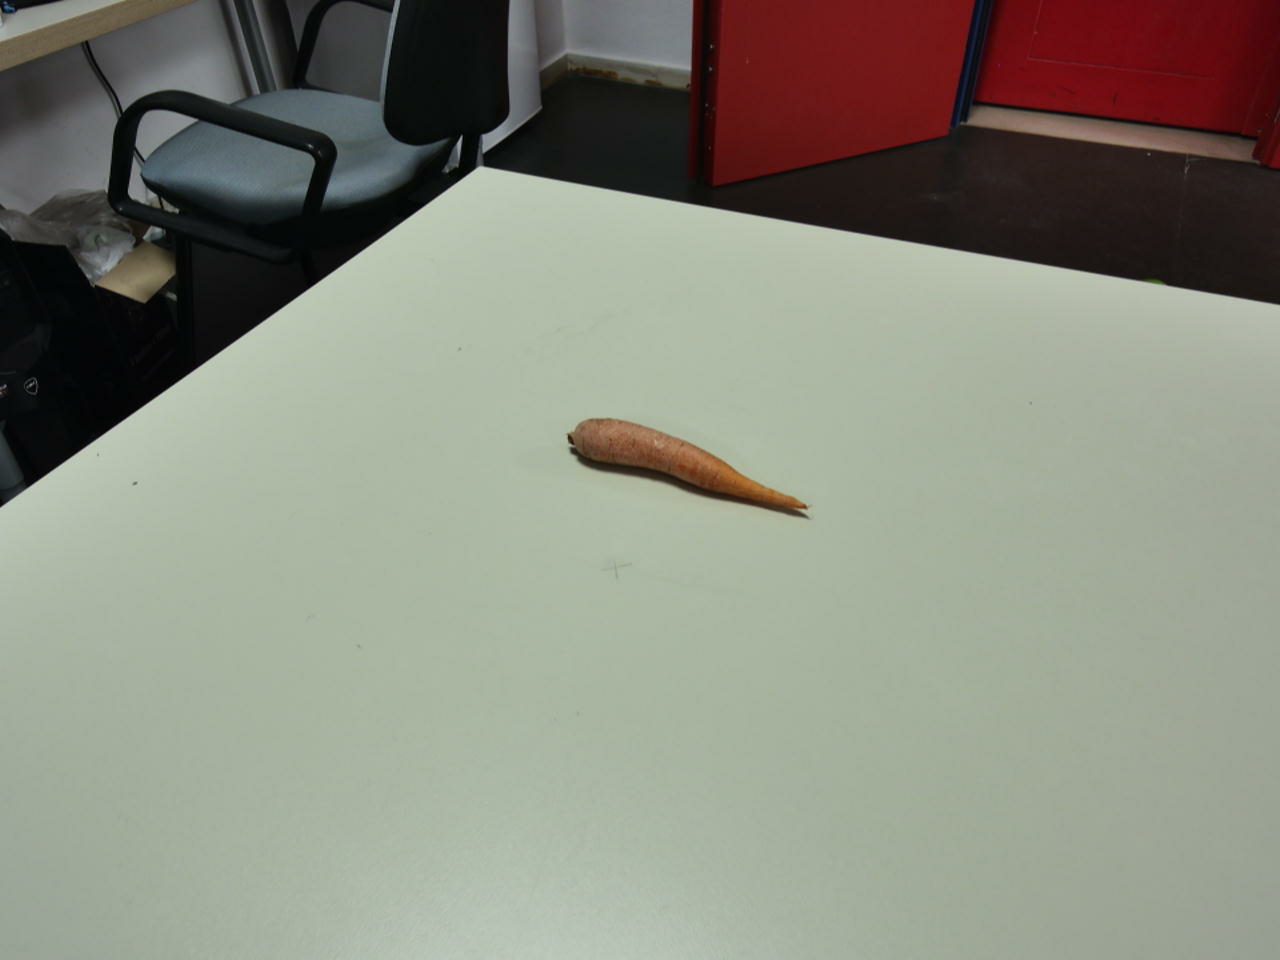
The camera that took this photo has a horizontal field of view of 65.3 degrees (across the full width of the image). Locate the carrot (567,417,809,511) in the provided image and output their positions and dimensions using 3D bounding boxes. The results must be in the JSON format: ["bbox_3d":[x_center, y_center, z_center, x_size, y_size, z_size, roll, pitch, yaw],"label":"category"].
[{"bbox_3d":[0.029,-0.011,0.622,0.163,0.029,0.031,16,41,19],"label":"carrot"}]
